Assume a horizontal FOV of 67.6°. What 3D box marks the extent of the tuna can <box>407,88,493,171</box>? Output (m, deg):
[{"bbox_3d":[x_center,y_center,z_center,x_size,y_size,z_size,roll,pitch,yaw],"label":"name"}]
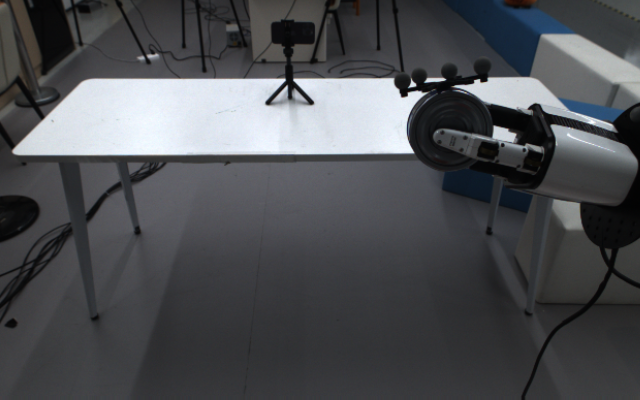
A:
[{"bbox_3d":[0.140,-0.068,0.508,0.085,0.085,0.034,6,18,5],"label":"tuna can"}]
